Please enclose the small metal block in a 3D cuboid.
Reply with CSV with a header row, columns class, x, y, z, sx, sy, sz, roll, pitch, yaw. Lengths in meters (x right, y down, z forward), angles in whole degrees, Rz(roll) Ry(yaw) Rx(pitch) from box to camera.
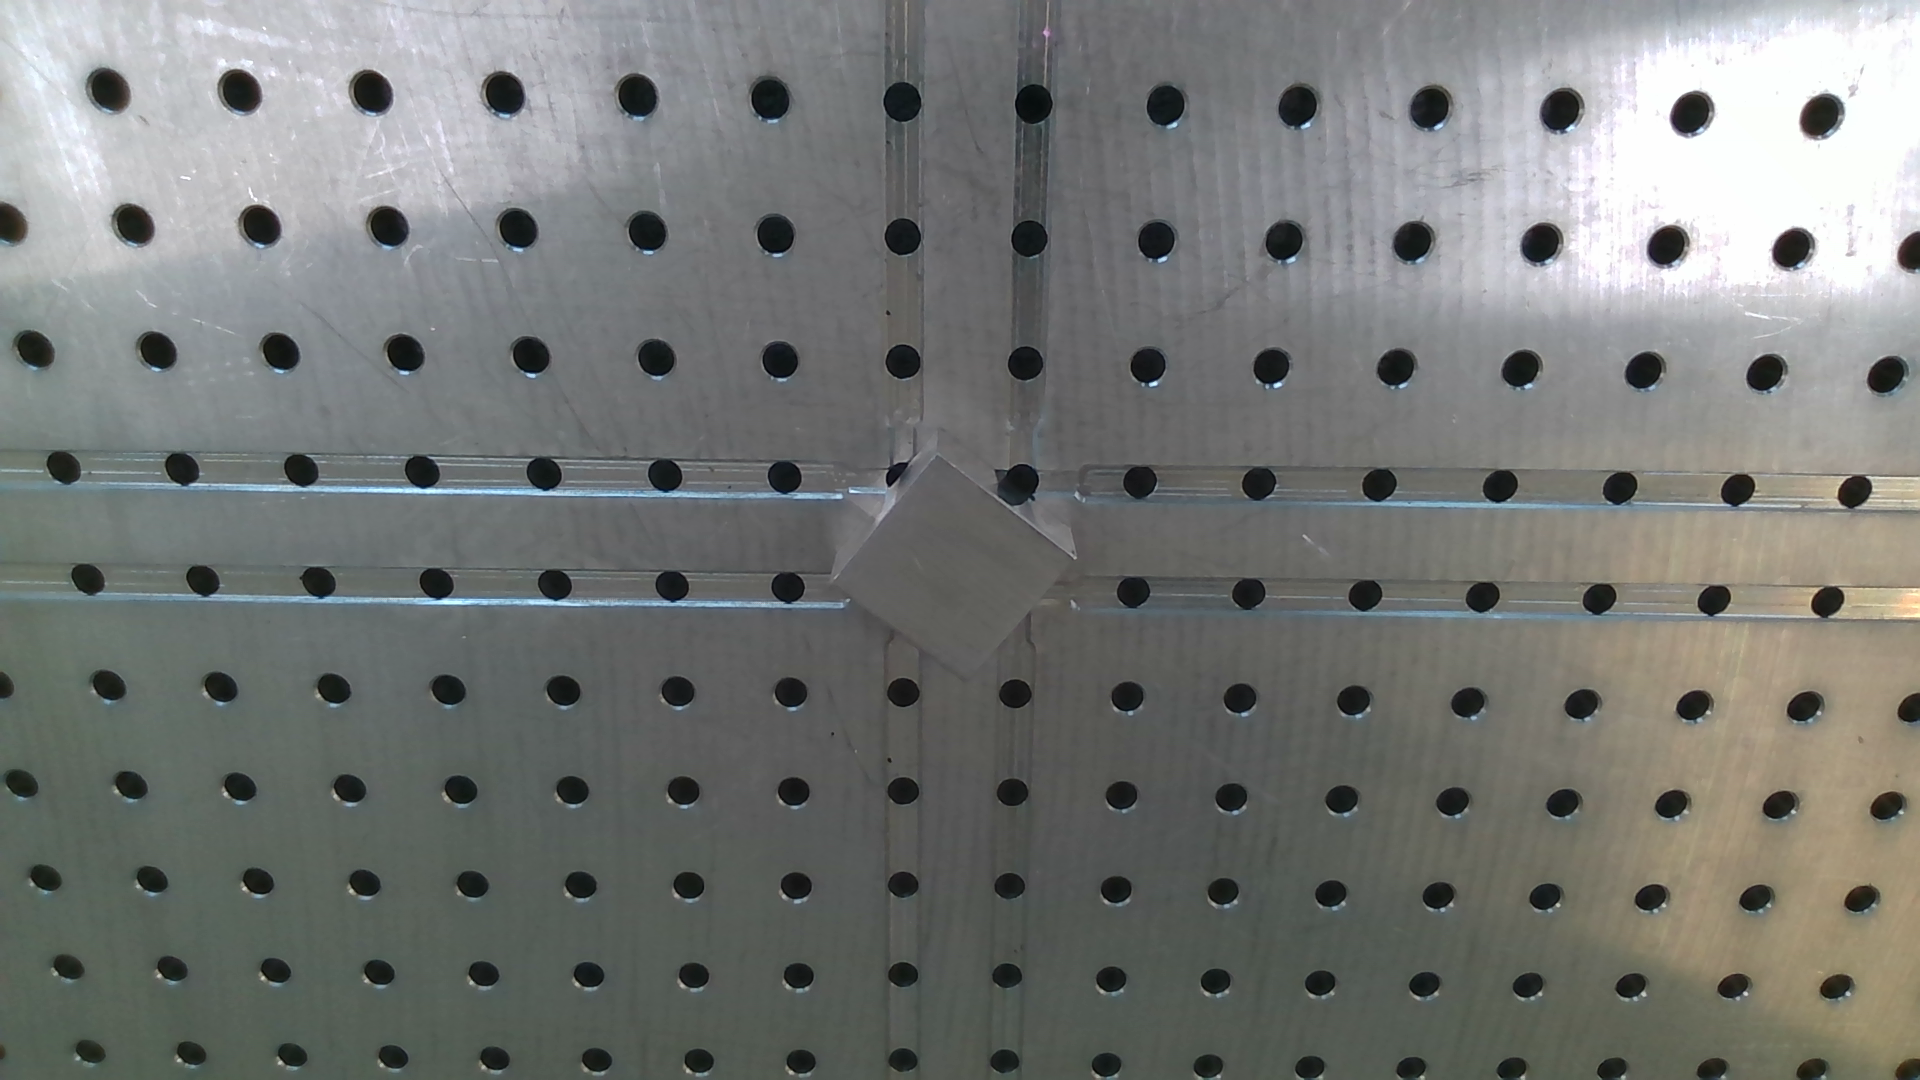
class,x,y,z,sx,sy,sz,roll,pitch,yaw
small metal block,-0.002,0.004,0.397,0.050,0.025,0.050,37,106,-12
